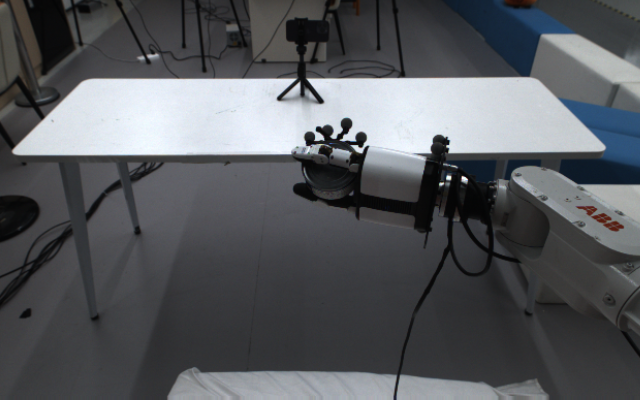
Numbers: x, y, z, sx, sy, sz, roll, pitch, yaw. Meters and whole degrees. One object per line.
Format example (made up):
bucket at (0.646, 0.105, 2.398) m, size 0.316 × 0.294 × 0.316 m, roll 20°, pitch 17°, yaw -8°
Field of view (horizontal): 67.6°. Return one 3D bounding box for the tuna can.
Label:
tuna can at (0.017, -0.045, 0.716) m, size 0.085 × 0.034 × 0.085 m, roll -4°, pitch 61°, yaw 6°
